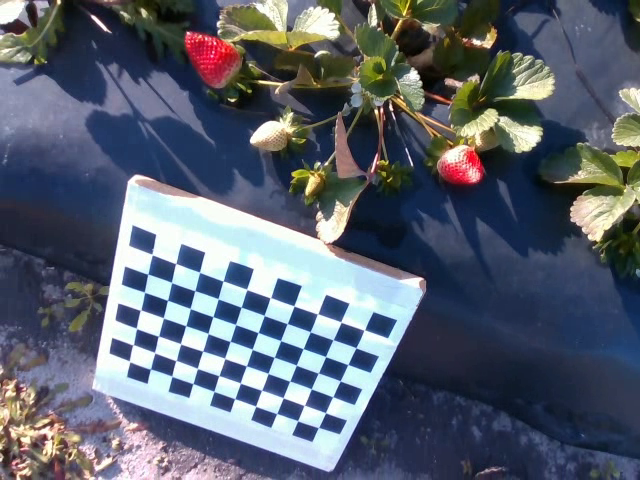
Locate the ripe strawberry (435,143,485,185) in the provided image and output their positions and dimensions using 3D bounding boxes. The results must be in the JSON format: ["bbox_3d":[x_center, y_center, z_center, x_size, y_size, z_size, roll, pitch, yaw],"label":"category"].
[{"bbox_3d":[0.110,-0.055,0.455,0.042,0.037,0.045,-10,31,-18],"label":"ripe strawberry"}]

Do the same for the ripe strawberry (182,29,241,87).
[{"bbox_3d":[-0.081,-0.139,0.451,0.043,0.053,0.036,-38,25,26],"label":"ripe strawberry"}]
